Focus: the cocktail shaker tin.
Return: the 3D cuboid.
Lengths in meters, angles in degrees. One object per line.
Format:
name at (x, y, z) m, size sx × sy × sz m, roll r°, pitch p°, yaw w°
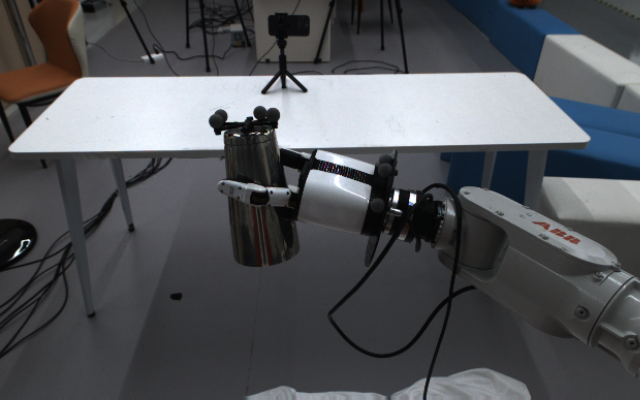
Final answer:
cocktail shaker tin at (-0.082, -0.008, 0.639) m, size 0.093 × 0.170 × 0.093 m, roll -6°, pitch 19°, yaw 2°
